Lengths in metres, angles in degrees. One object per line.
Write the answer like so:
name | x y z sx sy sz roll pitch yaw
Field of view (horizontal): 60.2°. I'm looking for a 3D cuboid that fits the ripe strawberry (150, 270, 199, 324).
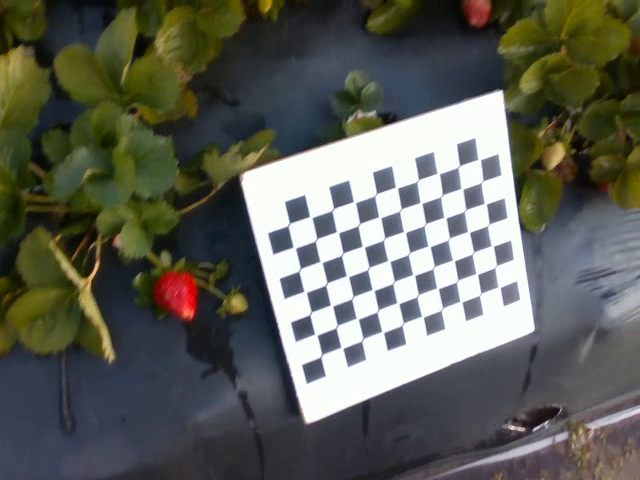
ripe strawberry | -0.142 0.058 0.571 0.052 0.043 0.057 43 8 -48
